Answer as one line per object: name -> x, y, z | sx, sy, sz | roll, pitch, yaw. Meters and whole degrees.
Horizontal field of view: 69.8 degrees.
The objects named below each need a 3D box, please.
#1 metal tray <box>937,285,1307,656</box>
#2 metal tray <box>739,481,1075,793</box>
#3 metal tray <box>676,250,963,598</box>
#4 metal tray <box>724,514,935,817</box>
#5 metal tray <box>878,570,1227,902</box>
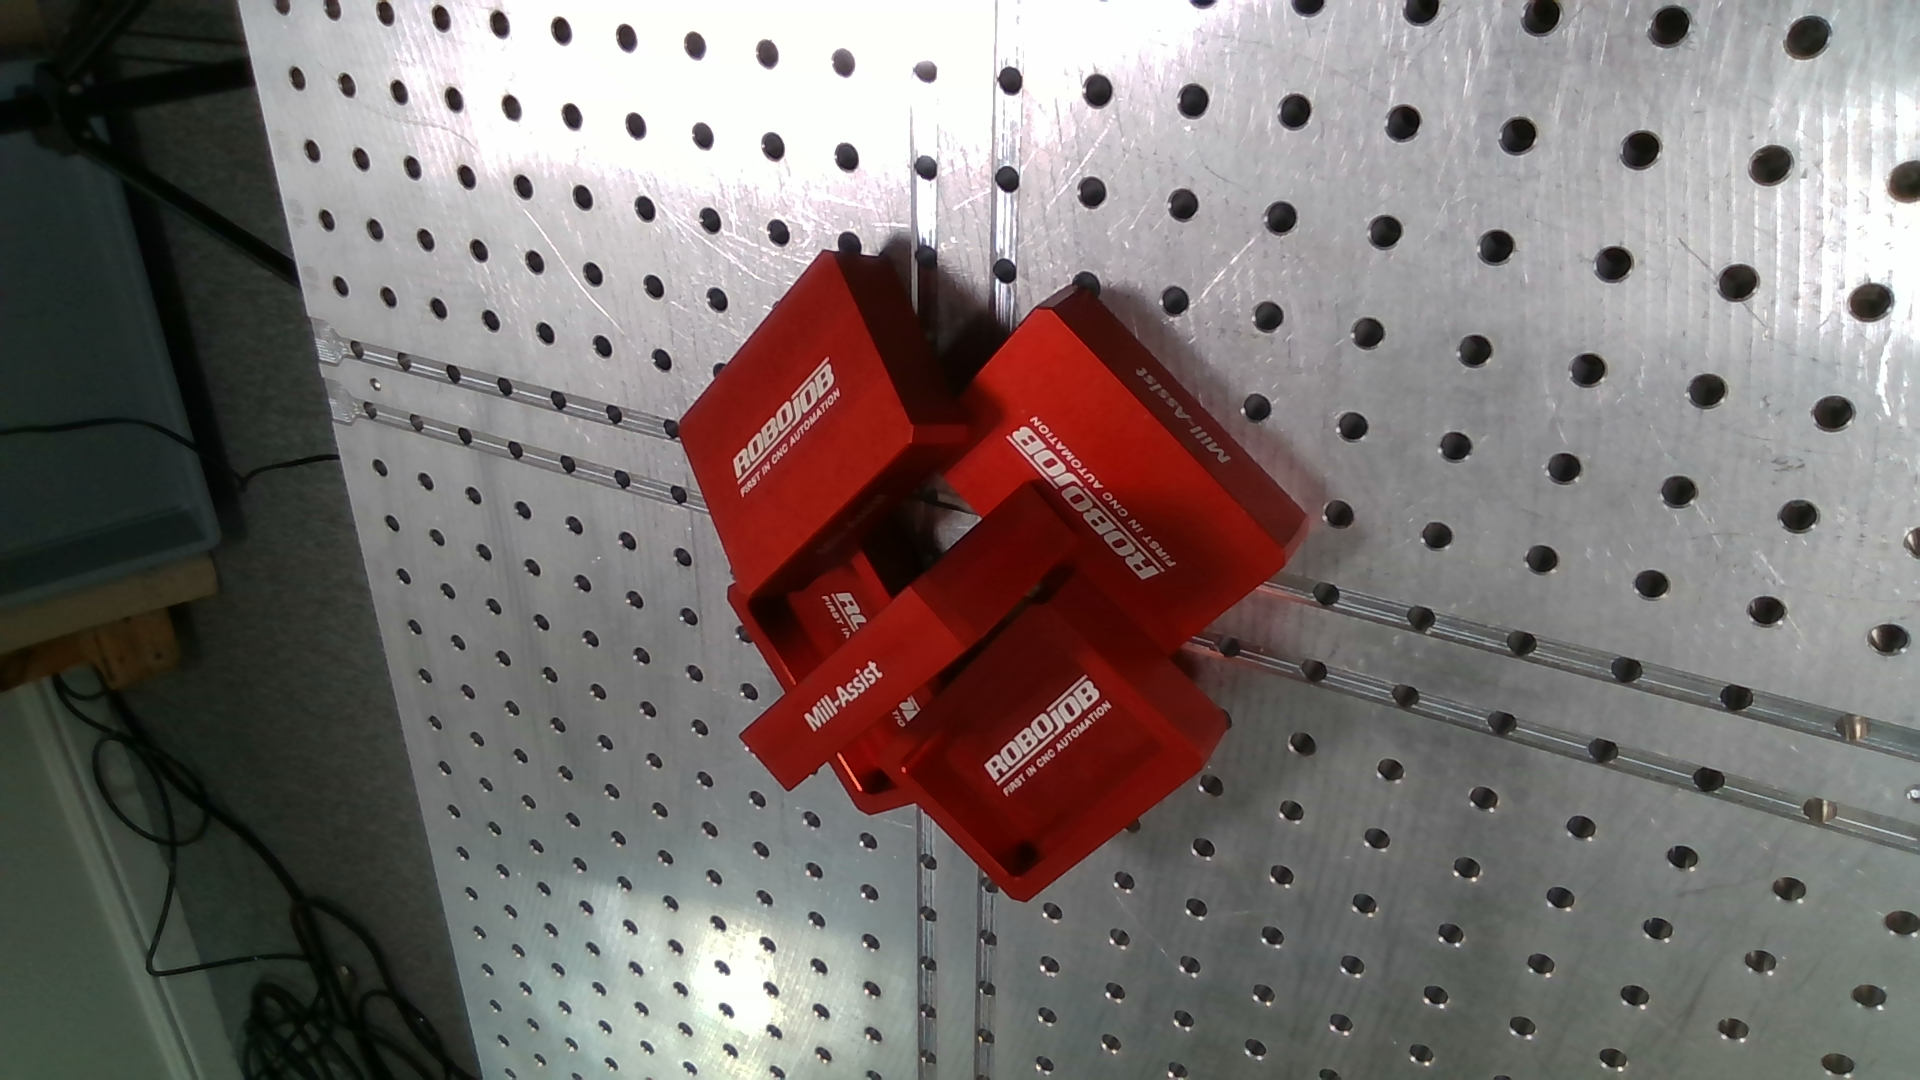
metal tray -> 0.056, -0.021, 0.532 | 0.130, 0.030, 0.090 | 46, 129, 2
metal tray -> -0.022, 0.038, 0.535 | 0.030, 0.090, 0.130 | 48, 129, 0
metal tray -> -0.063, -0.045, 0.570 | 0.130, 0.030, 0.090 | -40, 66, 39
metal tray -> -0.041, 0.059, 0.636 | 0.090, 0.030, 0.130 | -22, 102, 38
metal tray -> 0.034, 0.083, 0.565 | 0.090, 0.030, 0.130 | 44, 129, 3
